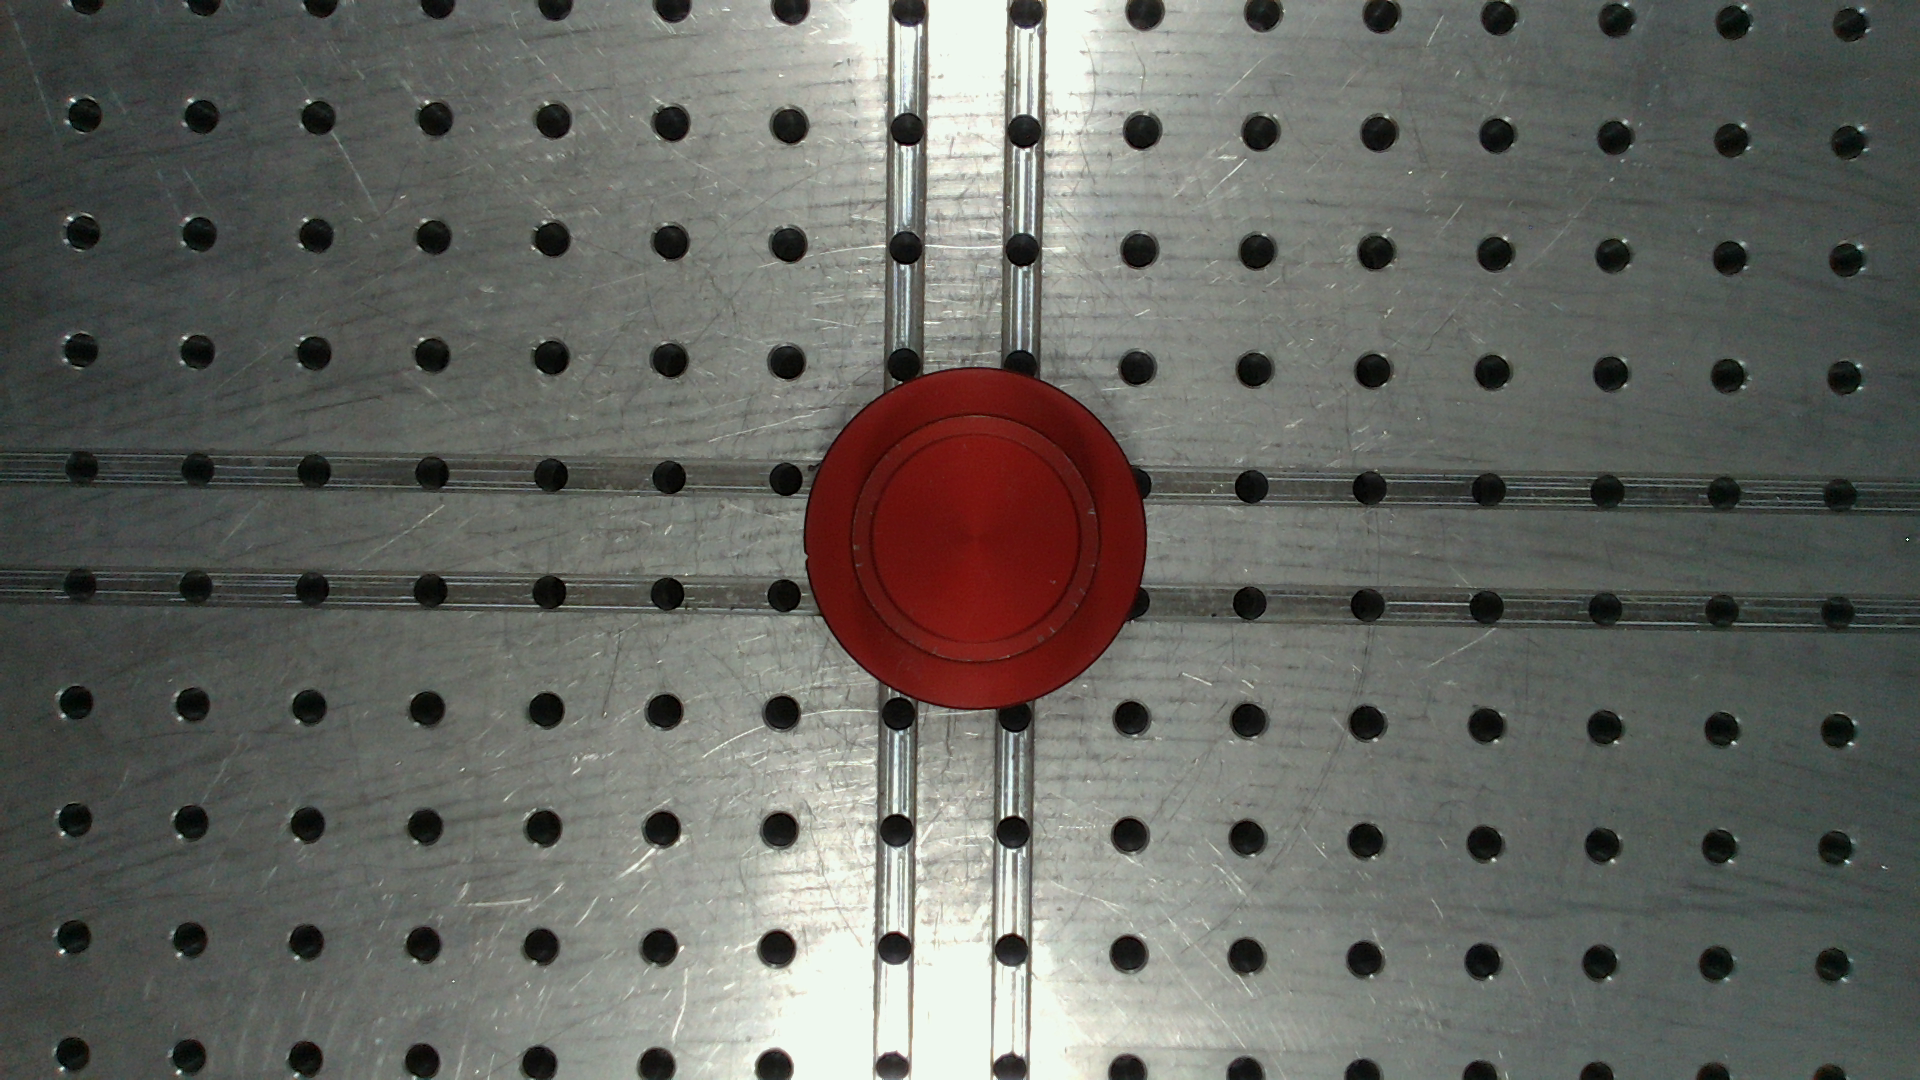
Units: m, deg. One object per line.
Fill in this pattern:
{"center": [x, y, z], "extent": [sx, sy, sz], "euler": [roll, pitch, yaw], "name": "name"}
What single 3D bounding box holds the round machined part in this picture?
{"center": [0.004, 0.000, 0.389], "extent": [0.098, 0.042, 0.098], "euler": [0, 90, 0], "name": "round machined part"}
